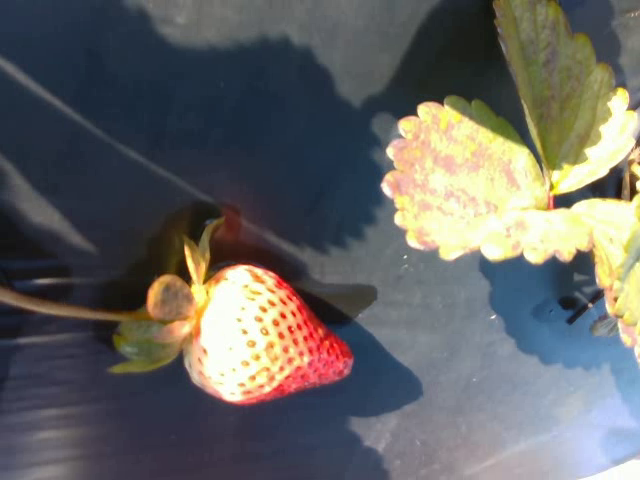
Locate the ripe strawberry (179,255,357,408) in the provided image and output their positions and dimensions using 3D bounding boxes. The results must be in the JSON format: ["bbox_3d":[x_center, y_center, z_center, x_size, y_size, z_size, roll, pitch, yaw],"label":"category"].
[{"bbox_3d":[-0.011,0.030,0.167,0.063,0.043,0.044,15,-17,-24],"label":"ripe strawberry"}]
